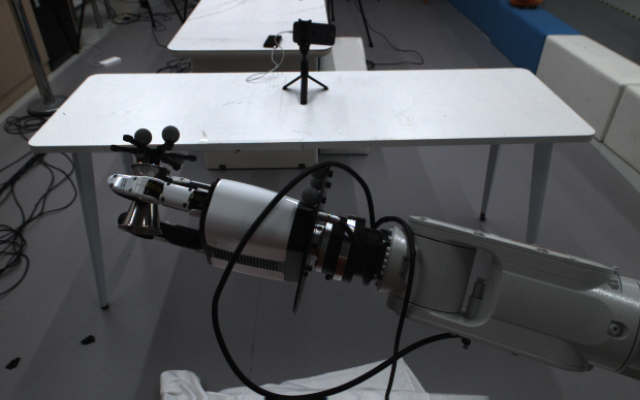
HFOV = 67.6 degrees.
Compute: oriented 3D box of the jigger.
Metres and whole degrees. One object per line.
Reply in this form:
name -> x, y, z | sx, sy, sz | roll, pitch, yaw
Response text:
jigger -> -0.182, 0.000, 0.508 | 0.043, 0.043, 0.071 | 4, 75, 2
